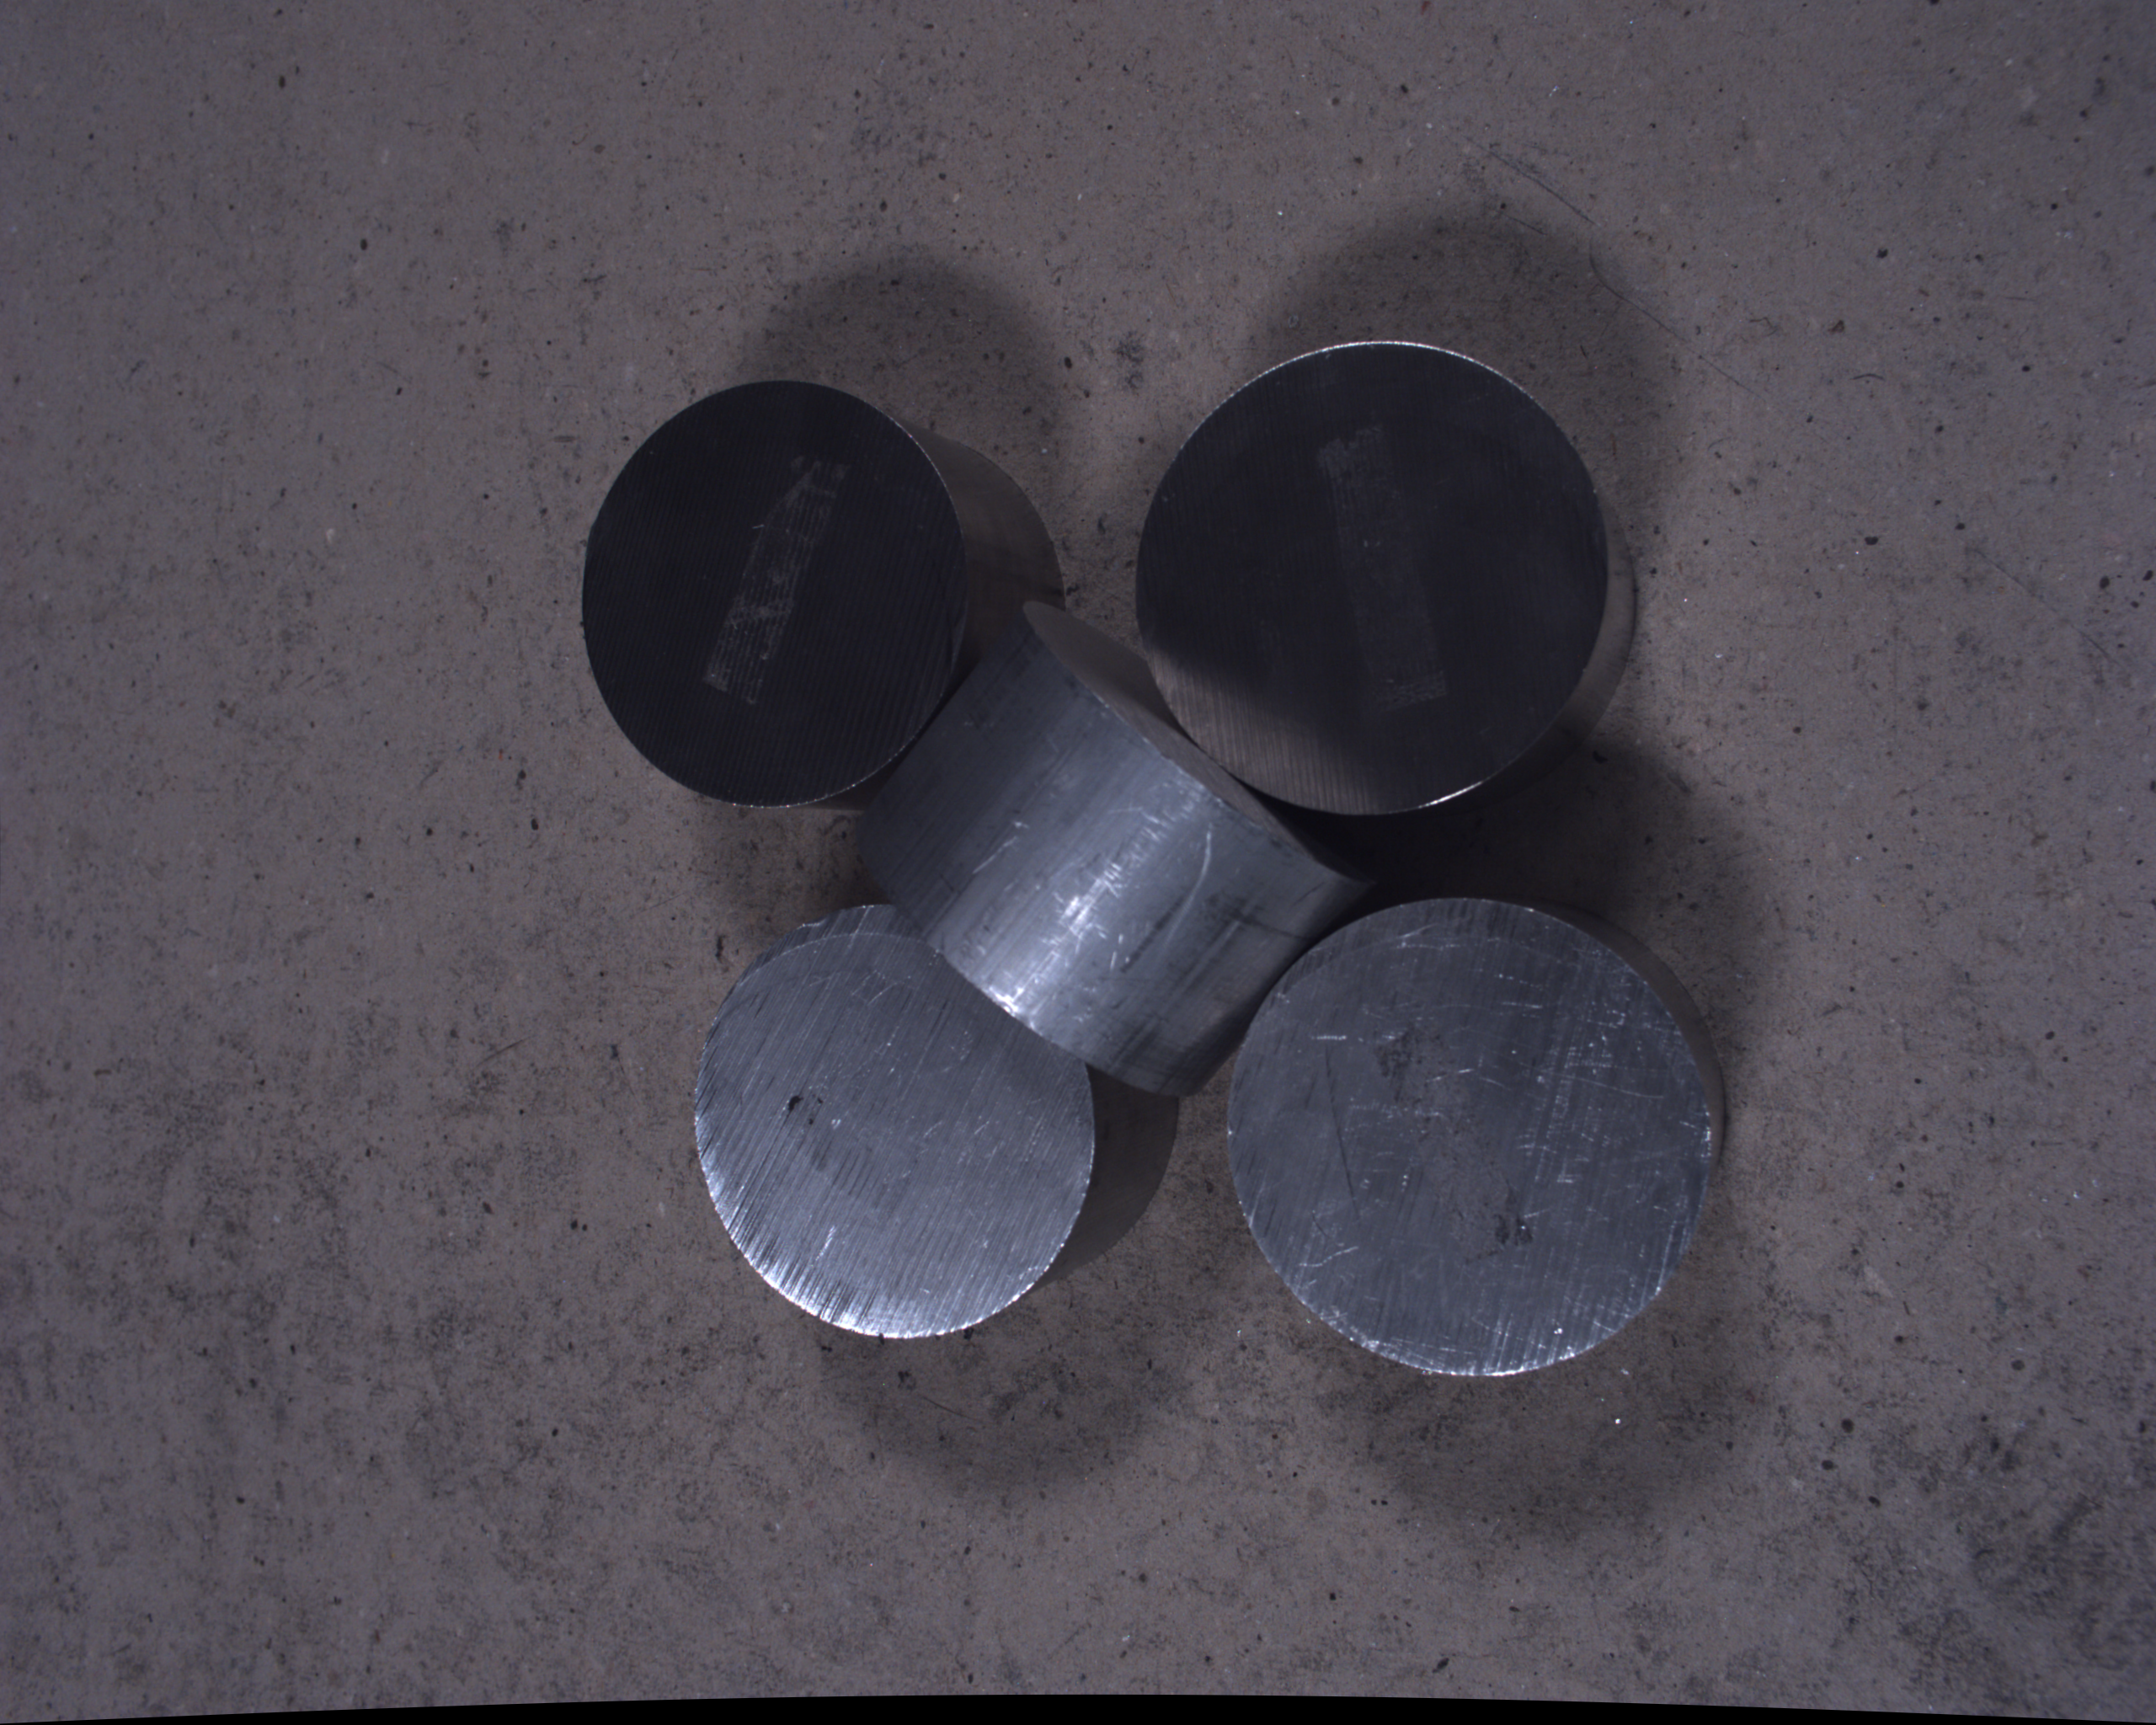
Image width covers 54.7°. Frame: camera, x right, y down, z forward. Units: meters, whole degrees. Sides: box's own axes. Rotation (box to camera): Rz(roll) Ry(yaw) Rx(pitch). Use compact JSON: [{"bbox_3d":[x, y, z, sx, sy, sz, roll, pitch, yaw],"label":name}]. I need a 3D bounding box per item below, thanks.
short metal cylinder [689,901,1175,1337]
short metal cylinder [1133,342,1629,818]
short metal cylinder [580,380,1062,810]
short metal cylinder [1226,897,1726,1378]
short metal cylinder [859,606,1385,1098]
[{"bbox_3d":[-0.027,0.047,0.404,0.080,0.050,0.079,0,90,19],"label":"short metal cylinder"},{"bbox_3d":[0.056,-0.048,0.375,0.080,0.050,0.079,0,90,19],"label":"short metal cylinder"},{"bbox_3d":[-0.050,-0.050,0.412,0.080,0.050,0.079,0,90,19],"label":"short metal cylinder"},{"bbox_3d":[0.072,0.046,0.370,0.080,0.050,0.079,0,90,19],"label":"short metal cylinder"},{"bbox_3d":[0.008,-0.003,0.378,0.080,0.080,0.050,41,103,15],"label":"short metal cylinder"}]
